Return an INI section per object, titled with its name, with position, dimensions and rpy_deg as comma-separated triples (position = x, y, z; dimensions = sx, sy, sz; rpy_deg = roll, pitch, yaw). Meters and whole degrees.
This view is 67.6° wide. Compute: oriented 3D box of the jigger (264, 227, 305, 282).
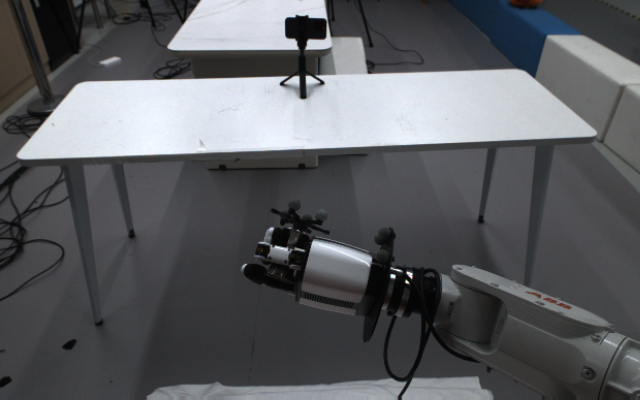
[jigger]
position = -0.043, 0.074, 0.663
dimensions = 0.043, 0.043, 0.071
rpy_deg = 15, 70, 18
